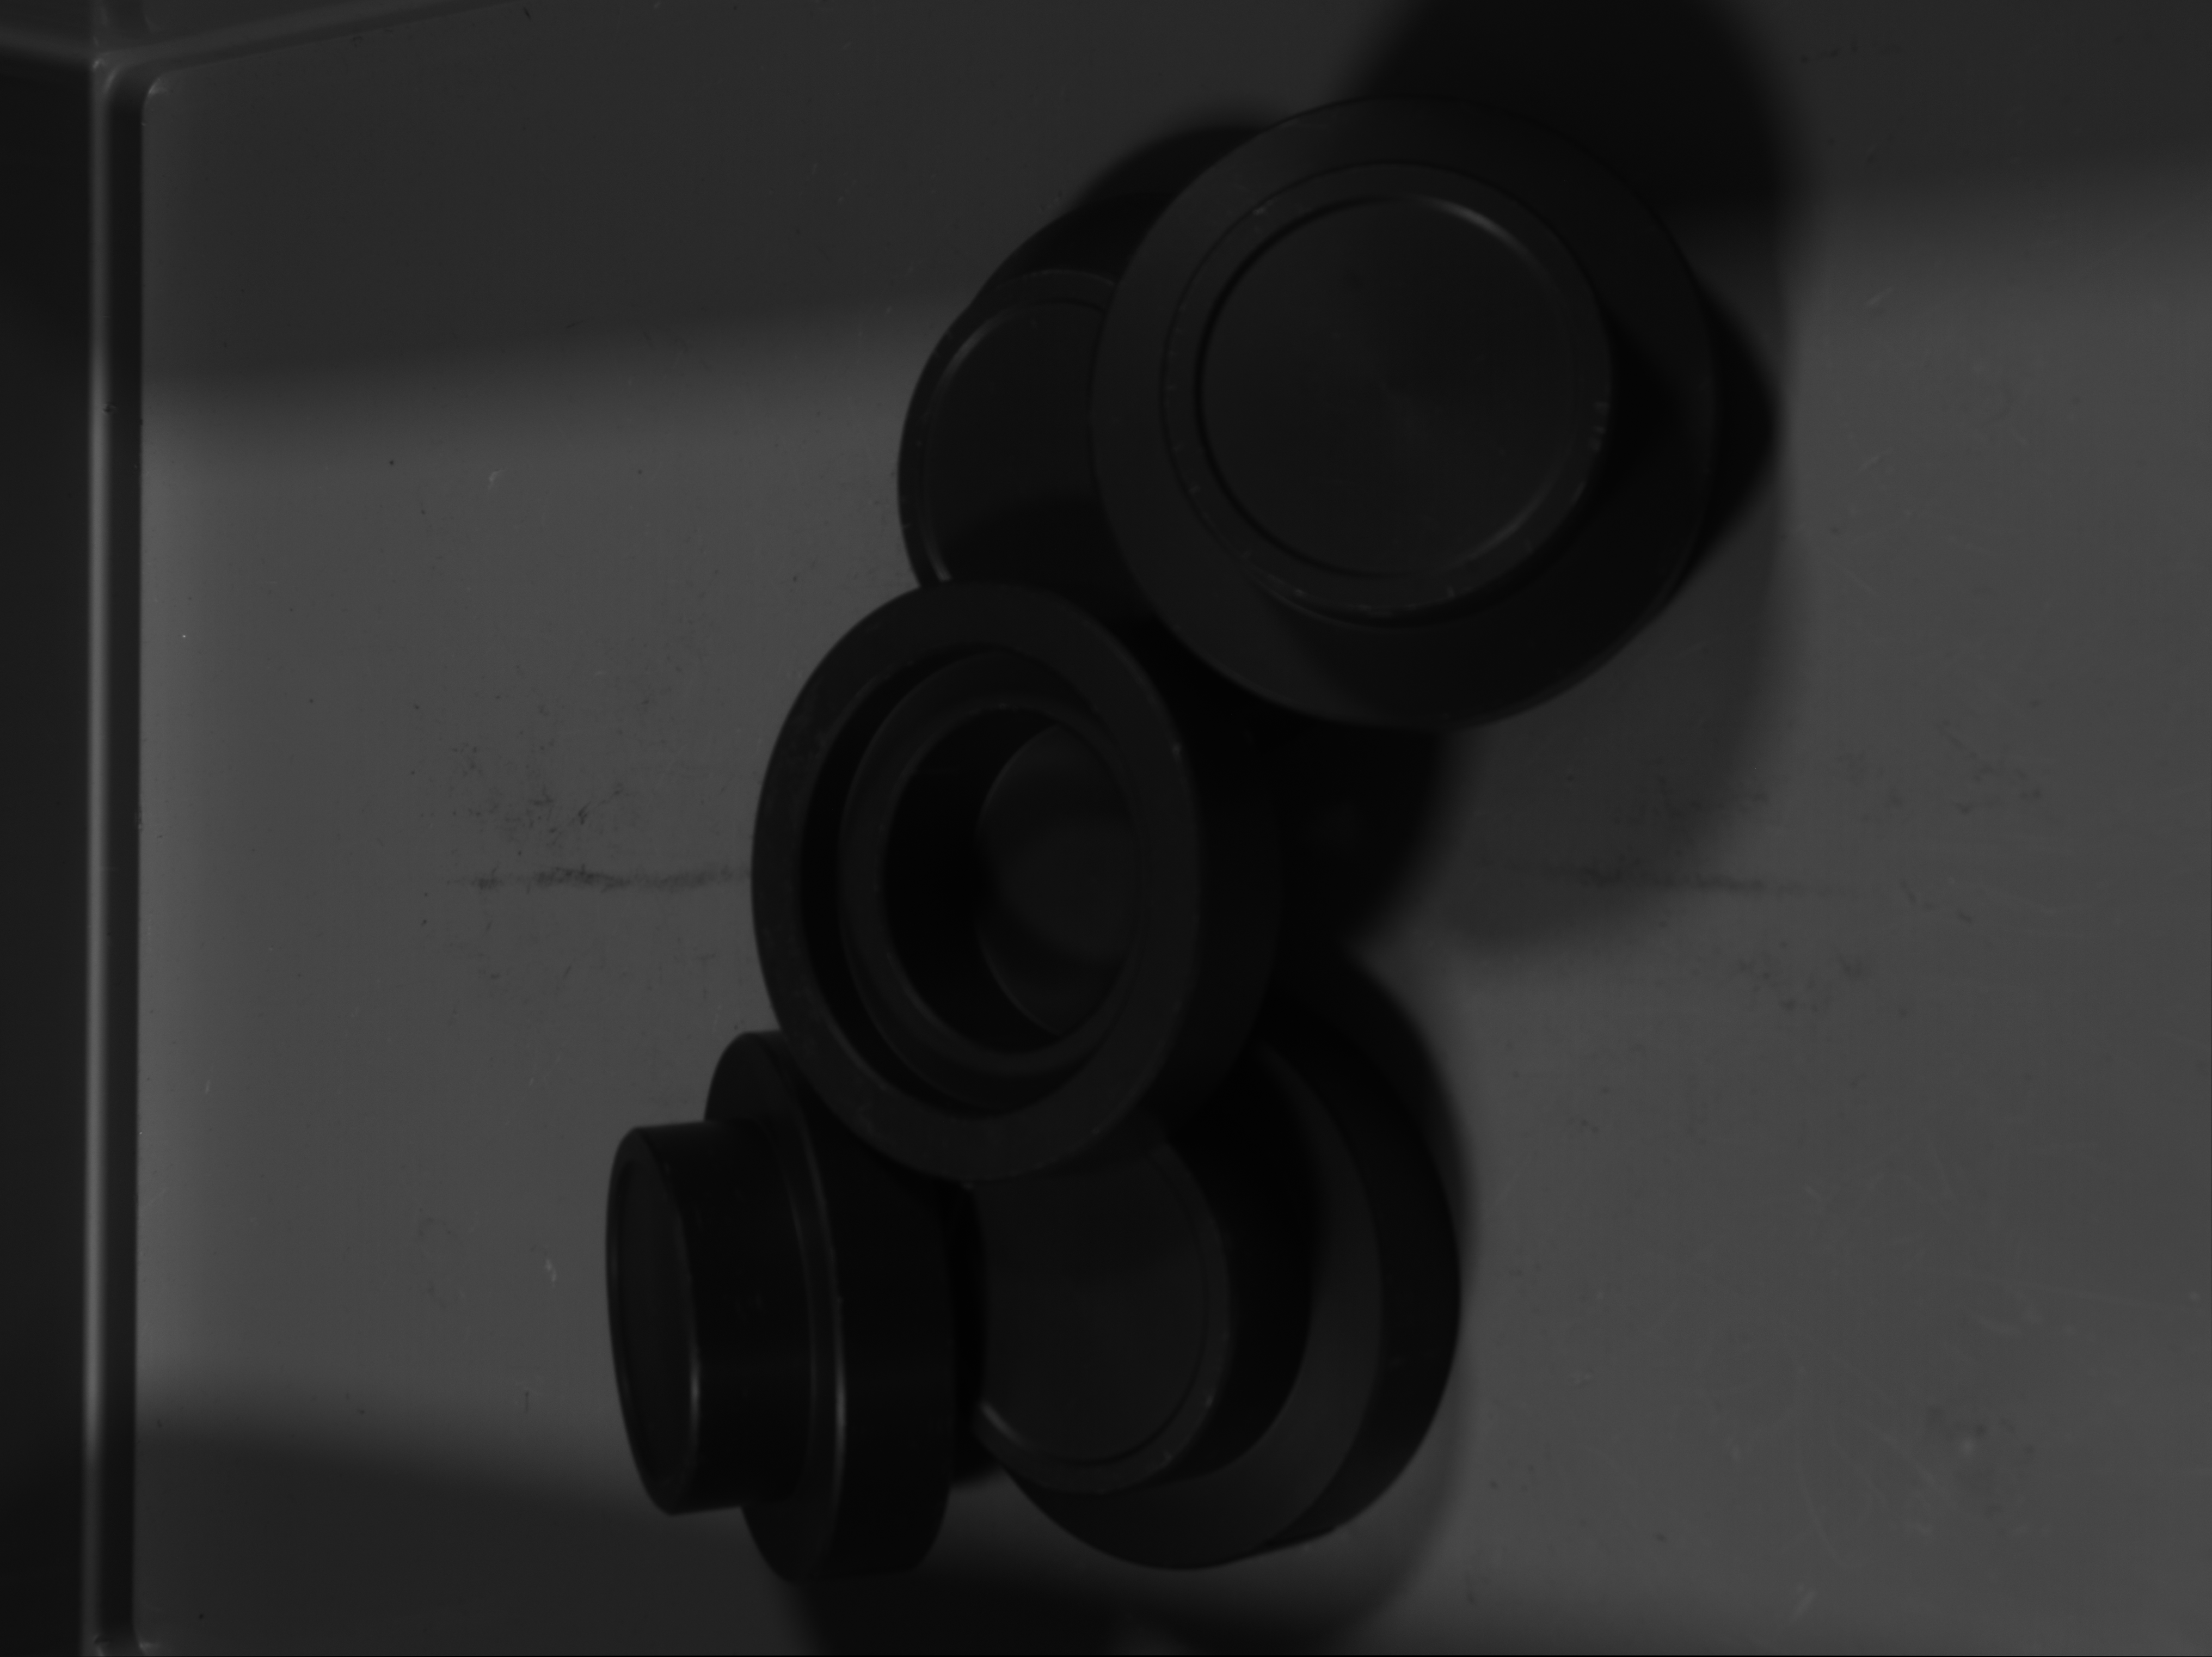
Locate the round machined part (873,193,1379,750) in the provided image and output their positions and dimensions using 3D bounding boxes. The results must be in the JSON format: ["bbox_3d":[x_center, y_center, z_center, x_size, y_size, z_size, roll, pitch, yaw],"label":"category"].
[{"bbox_3d":[-0.001,-0.059,0.625,0.098,0.042,0.098,0,90,39],"label":"round machined part"}]

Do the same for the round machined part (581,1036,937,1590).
[{"bbox_3d":[-0.065,0.086,0.650,0.098,0.042,0.098,176,90,-69],"label":"round machined part"}]

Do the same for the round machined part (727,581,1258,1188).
[{"bbox_3d":[-0.014,0.009,0.607,0.098,0.042,0.098,0,90,39],"label":"round machined part"}]

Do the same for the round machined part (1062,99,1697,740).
[{"bbox_3d":[0.041,-0.064,0.563,0.098,0.042,0.098,0,87,9],"label":"round machined part"}]

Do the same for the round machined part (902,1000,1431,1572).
[{"bbox_3d":[0.003,0.077,0.621,0.098,0.042,0.098,0,90,39],"label":"round machined part"}]
